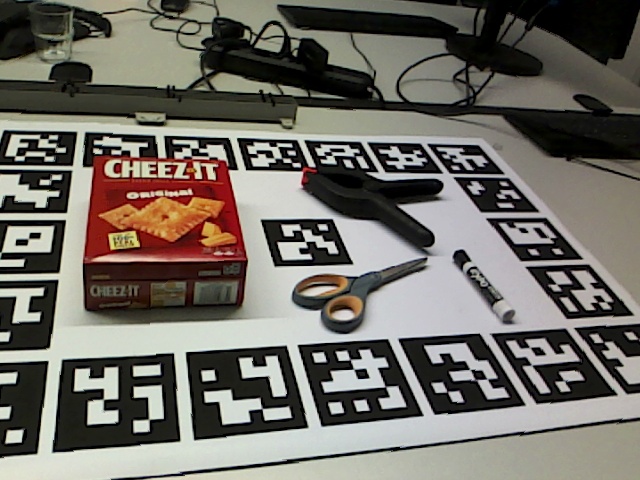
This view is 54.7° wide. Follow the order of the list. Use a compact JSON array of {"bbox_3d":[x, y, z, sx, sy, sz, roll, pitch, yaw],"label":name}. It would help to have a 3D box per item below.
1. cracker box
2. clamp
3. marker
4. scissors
[{"bbox_3d":[-0.183,-0.015,0.724,0.163,0.072,0.215,0,36,-15],"label":"cracker box"},{"bbox_3d":[0.056,-0.059,0.902,0.203,0.036,0.165,17,34,8],"label":"clamp"},{"bbox_3d":[0.193,0.048,0.775,0.019,0.019,0.122,-4,36,-19],"label":"marker"},{"bbox_3d":[0.055,0.049,0.740,0.202,0.016,0.088,-21,44,-40],"label":"scissors"}]
